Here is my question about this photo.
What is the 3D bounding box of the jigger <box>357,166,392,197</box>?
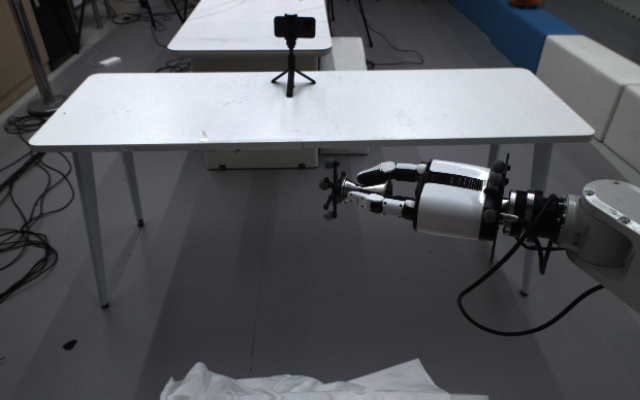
[{"bbox_3d":[0.076,-0.014,0.724,0.071,0.043,0.043,5,34,22],"label":"jigger"}]
